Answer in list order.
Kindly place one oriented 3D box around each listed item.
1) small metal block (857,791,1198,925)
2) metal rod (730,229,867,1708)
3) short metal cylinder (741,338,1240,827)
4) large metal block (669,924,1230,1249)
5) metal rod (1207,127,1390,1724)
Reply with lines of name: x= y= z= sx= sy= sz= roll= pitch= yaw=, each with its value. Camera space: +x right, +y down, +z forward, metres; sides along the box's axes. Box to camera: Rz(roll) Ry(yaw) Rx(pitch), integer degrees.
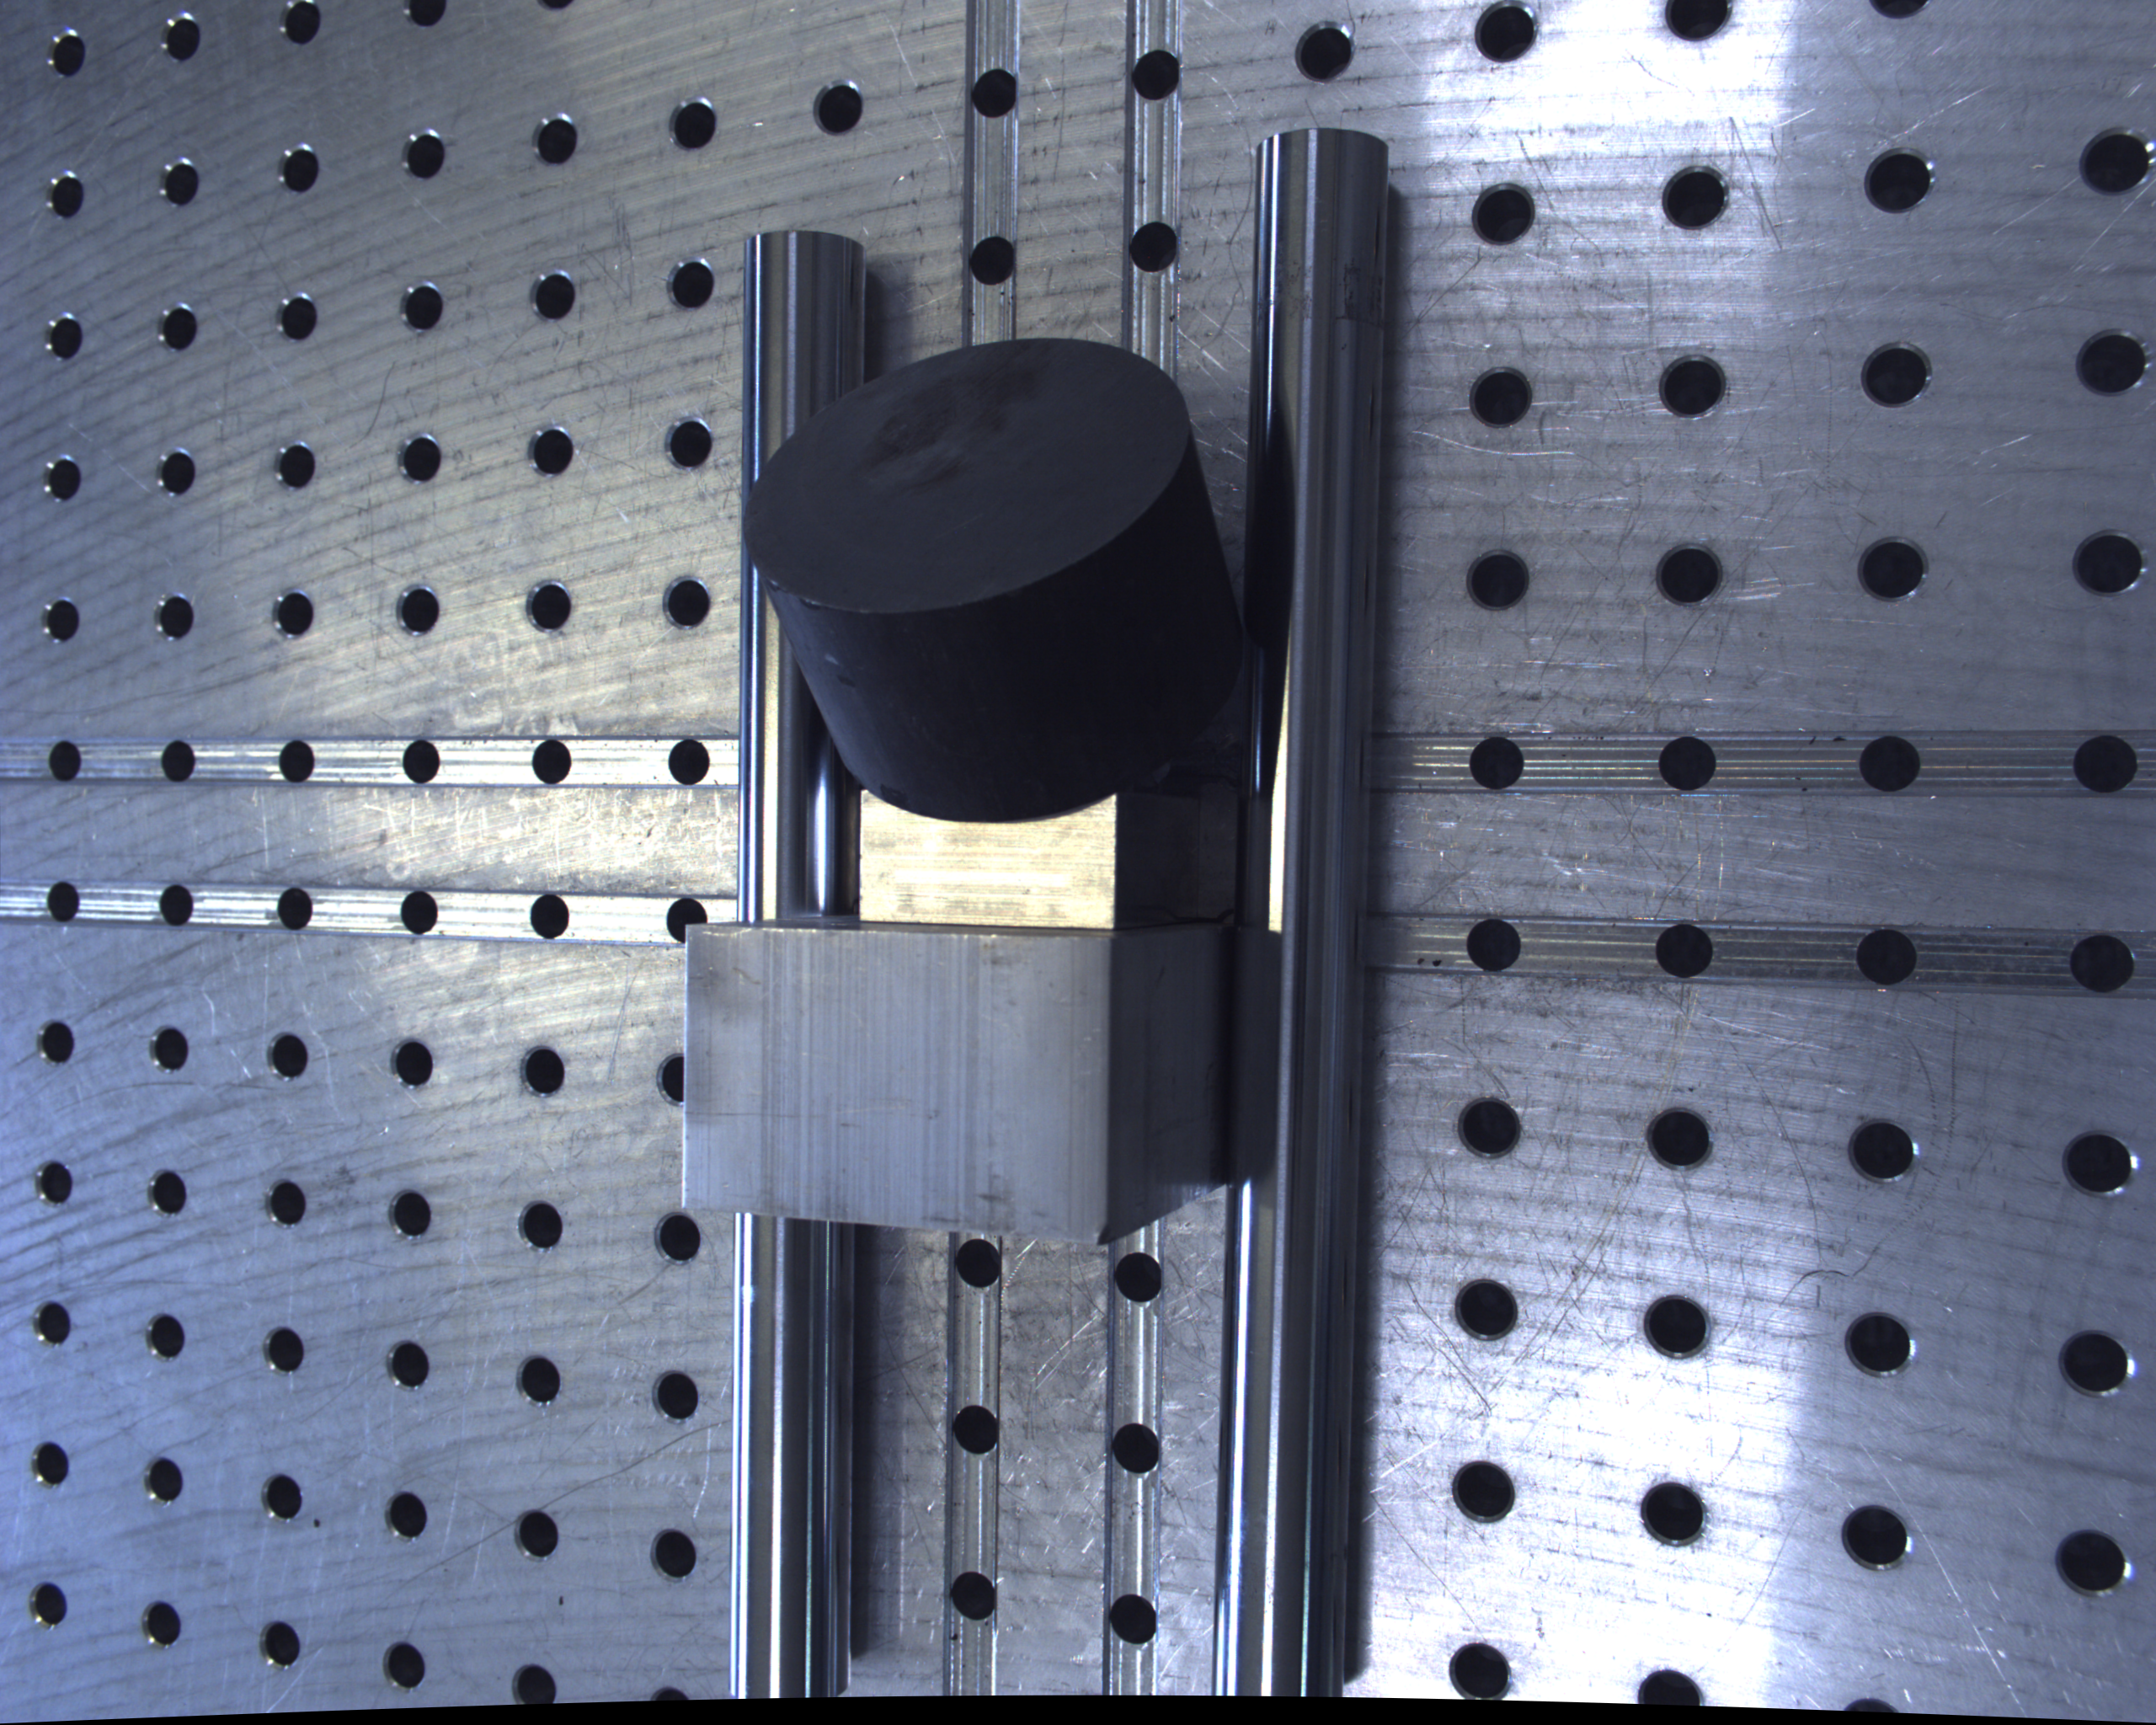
small metal block: x=-0.008 y=-0.001 z=0.402 sx=0.050 sy=0.050 sz=0.025 roll=2 pitch=91 yaw=19
metal rod: x=-0.058 y=0.022 z=0.433 sx=0.025 sy=0.025 sz=0.298 roll=1 pitch=90 yaw=20
short metal cylinder: x=-0.015 y=-0.052 z=0.381 sx=0.080 sy=0.050 sz=0.080 roll=-9 pitch=44 yaw=9
large metal block: x=-0.019 y=0.037 z=0.388 sx=0.080 sy=0.080 sz=0.050 roll=1 pitch=91 yaw=20
metal rod: x=0.042 y=0.014 z=0.398 sx=0.025 sy=0.025 sz=0.298 roll=2 pitch=91 yaw=20
